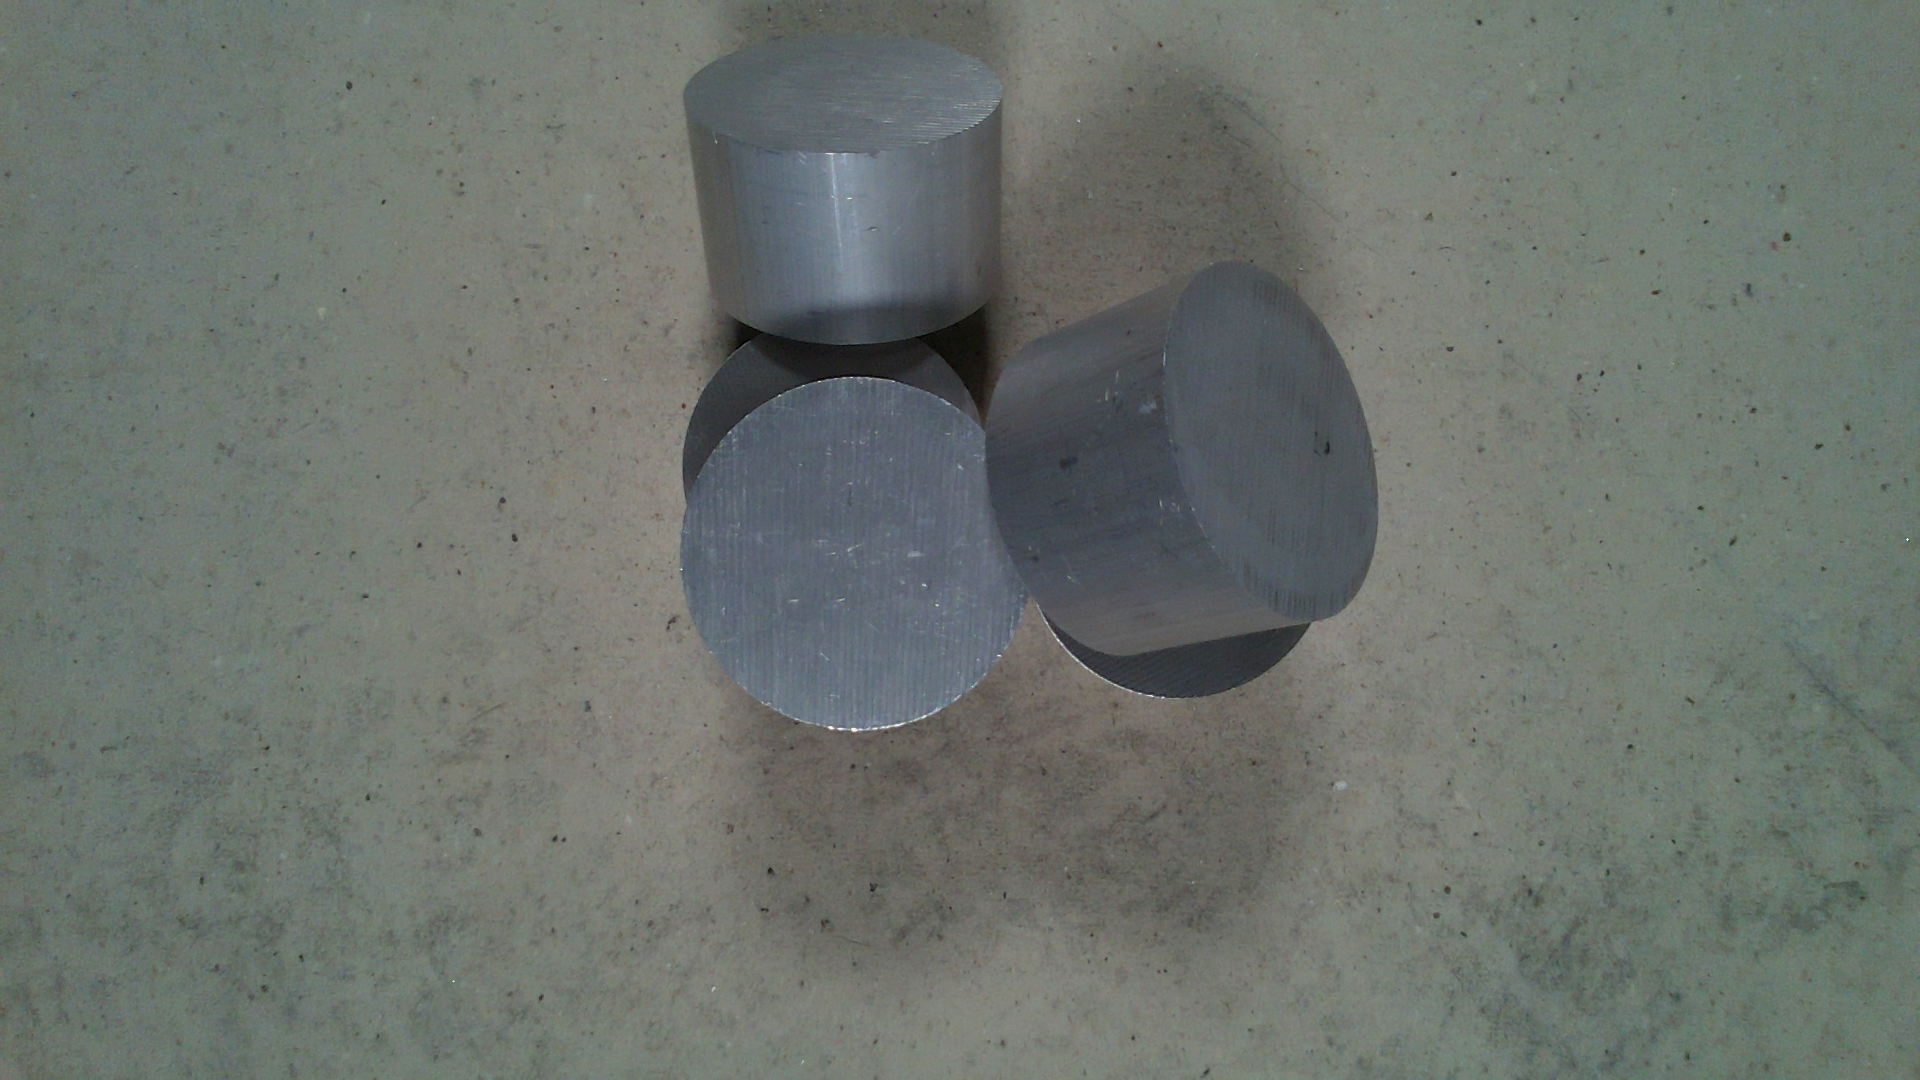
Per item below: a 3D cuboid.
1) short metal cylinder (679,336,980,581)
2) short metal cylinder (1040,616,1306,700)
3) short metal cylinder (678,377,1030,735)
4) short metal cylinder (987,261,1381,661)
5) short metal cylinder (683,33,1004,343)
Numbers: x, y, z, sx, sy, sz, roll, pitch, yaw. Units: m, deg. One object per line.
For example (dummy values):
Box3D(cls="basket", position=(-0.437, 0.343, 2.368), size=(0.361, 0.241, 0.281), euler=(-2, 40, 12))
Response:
Box3D(cls="short metal cylinder", position=(-0.033, -0.019, 0.383), size=(0.080, 0.050, 0.080), euler=(0, 90, 0))
Box3D(cls="short metal cylinder", position=(0.057, 0.002, 0.383), size=(0.080, 0.050, 0.080), euler=(0, 90, 0))
Box3D(cls="short metal cylinder", position=(-0.023, 0.004, 0.332), size=(0.080, 0.050, 0.080), euler=(0, 90, 0))
Box3D(cls="short metal cylinder", position=(0.052, -0.016, 0.311), size=(0.050, 0.080, 0.080), euler=(-17, 90, 43))
Box3D(cls="short metal cylinder", position=(-0.029, -0.094, 0.361), size=(0.080, 0.080, 0.050), euler=(0, 129, 0))
